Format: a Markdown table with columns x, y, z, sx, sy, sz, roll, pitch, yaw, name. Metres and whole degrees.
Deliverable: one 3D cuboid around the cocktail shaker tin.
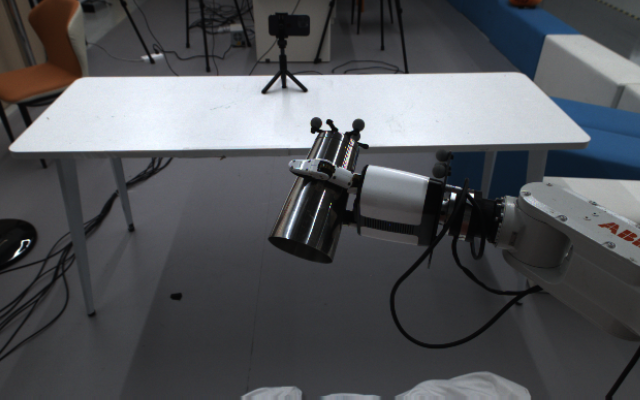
| x | y | z | sx | sy | sz | roll | pitch | yaw | name |
| --- | --- | --- | --- | --- | --- | --- | --- | --- | --- |
| -0.001 | -0.008 | 0.674 | 0.093 | 0.093 | 0.170 | 13 | 70 | 16 | cocktail shaker tin |
